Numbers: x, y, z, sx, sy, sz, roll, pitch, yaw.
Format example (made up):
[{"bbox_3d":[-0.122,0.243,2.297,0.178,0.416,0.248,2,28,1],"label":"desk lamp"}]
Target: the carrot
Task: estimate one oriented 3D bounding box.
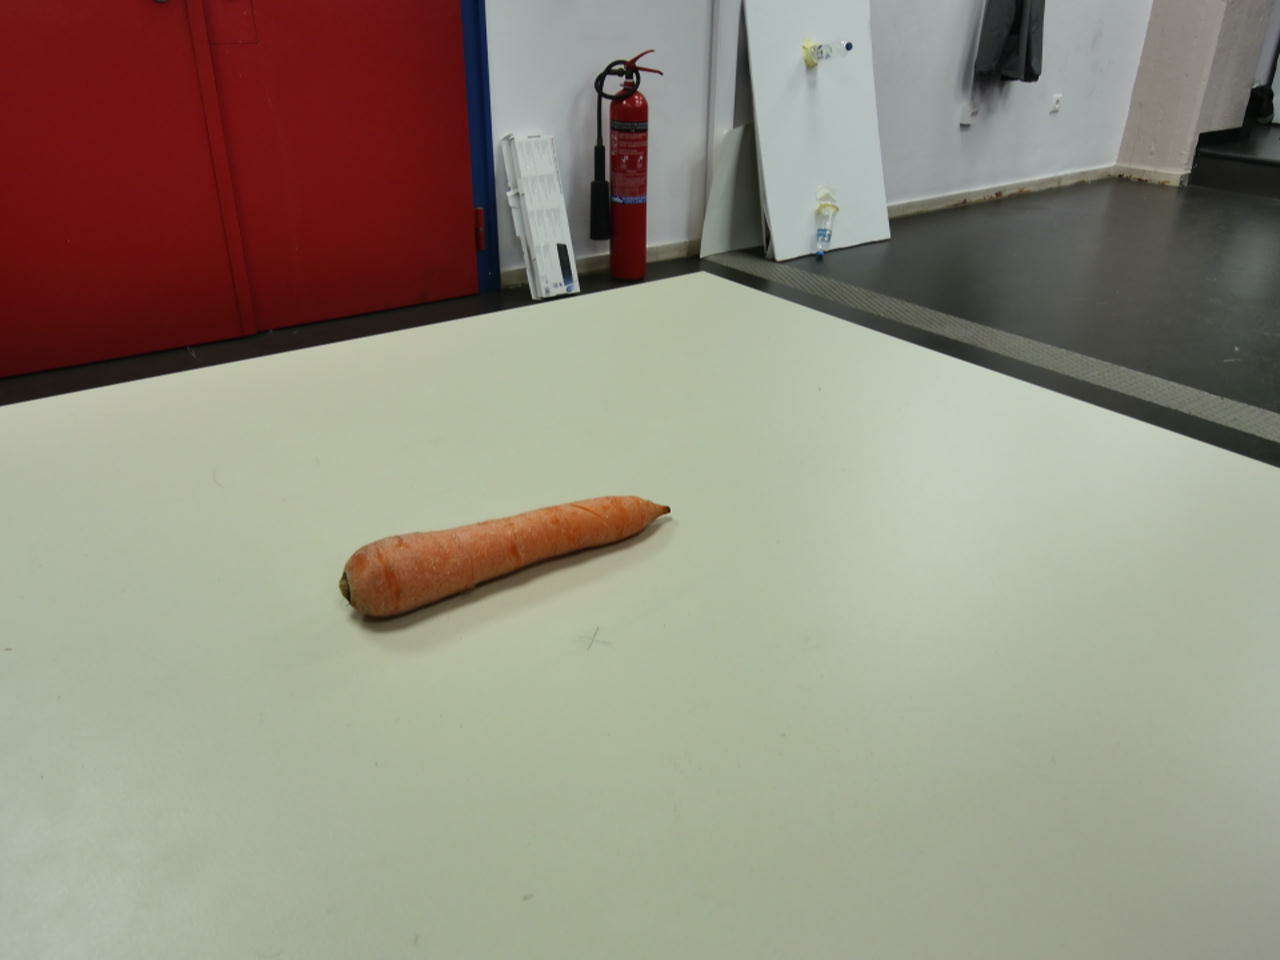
[{"bbox_3d":[-0.063,0.029,0.531,0.196,0.041,0.039,-18,31,-33],"label":"carrot"}]
